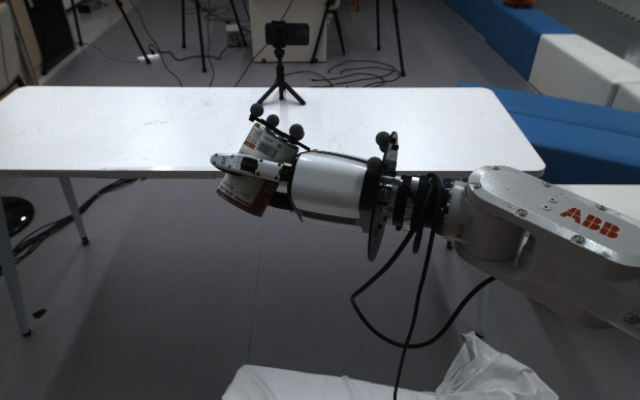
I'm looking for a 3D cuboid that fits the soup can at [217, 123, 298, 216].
[{"bbox_3d":[-0.079,-0.038,0.622,0.067,0.101,0.067,30,2,-1],"label":"soup can"}]
